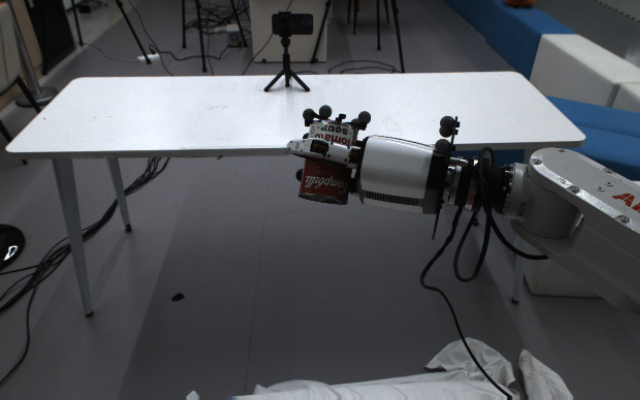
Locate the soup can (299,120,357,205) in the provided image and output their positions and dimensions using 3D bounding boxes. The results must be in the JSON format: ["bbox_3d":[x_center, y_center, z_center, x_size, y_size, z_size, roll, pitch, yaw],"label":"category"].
[{"bbox_3d":[0.012,-0.049,0.651,0.067,0.101,0.067,9,-6,1],"label":"soup can"}]
